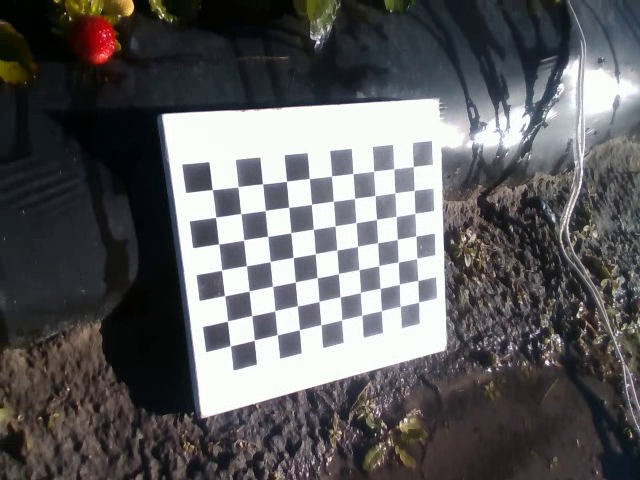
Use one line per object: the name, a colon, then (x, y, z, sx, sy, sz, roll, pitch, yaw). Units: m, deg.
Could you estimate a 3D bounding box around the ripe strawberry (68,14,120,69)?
ripe strawberry: (-0.134, -0.118, 0.434, 0.039, 0.040, 0.039, -17, 41, -16)
